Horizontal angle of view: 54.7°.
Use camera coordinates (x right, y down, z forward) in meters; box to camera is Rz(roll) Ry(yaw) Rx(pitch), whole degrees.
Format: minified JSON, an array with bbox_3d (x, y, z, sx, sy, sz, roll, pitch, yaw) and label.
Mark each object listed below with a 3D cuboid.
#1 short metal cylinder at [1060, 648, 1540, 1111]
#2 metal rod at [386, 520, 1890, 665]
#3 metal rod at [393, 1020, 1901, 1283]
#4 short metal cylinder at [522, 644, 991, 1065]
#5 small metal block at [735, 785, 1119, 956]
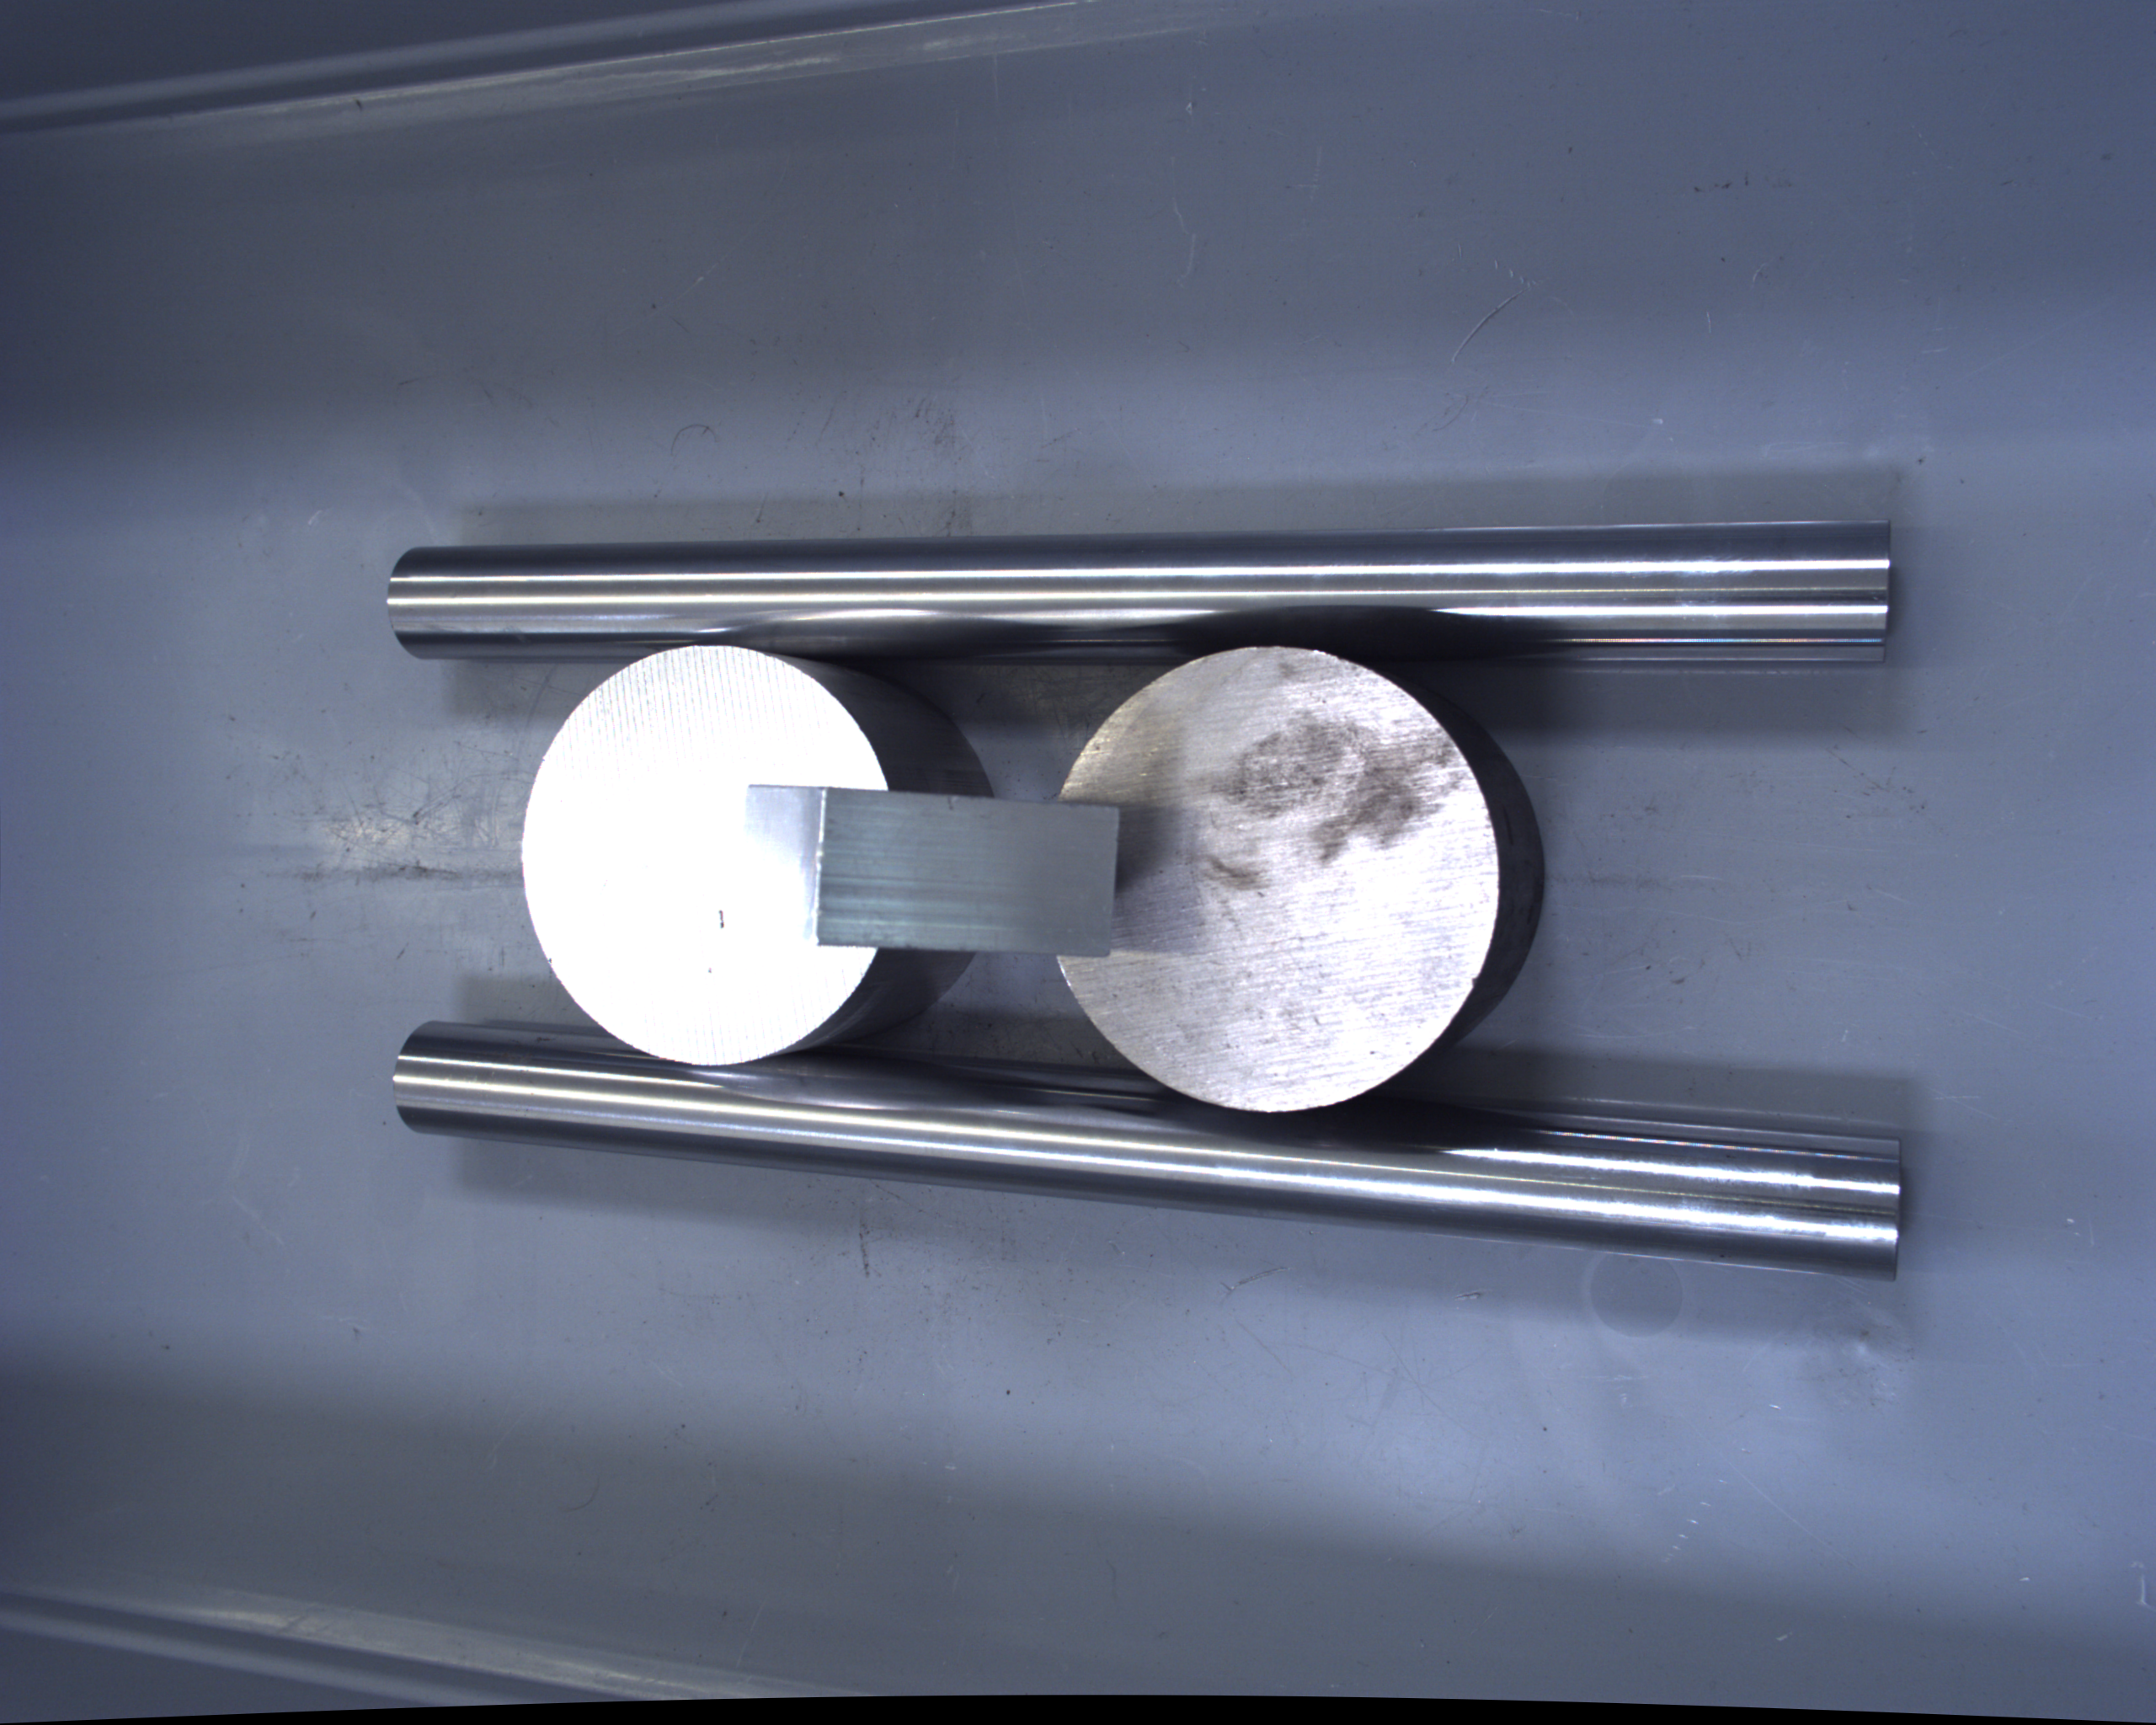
[{"bbox_3d":[0.041,0.003,0.381,0.080,0.050,0.079,0,90,20],"label":"short metal cylinder"},{"bbox_3d":[-0.002,-0.052,0.410,0.301,0.025,0.025,2,91,19],"label":"metal rod"},{"bbox_3d":[-0.001,0.053,0.409,0.301,0.025,0.025,3,91,19],"label":"metal rod"},{"bbox_3d":[-0.062,-0.002,0.418,0.080,0.050,0.079,0,90,20],"label":"short metal cylinder"},{"bbox_3d":[-0.027,0.001,0.356,0.050,0.050,0.025,3,91,-23],"label":"small metal block"}]
